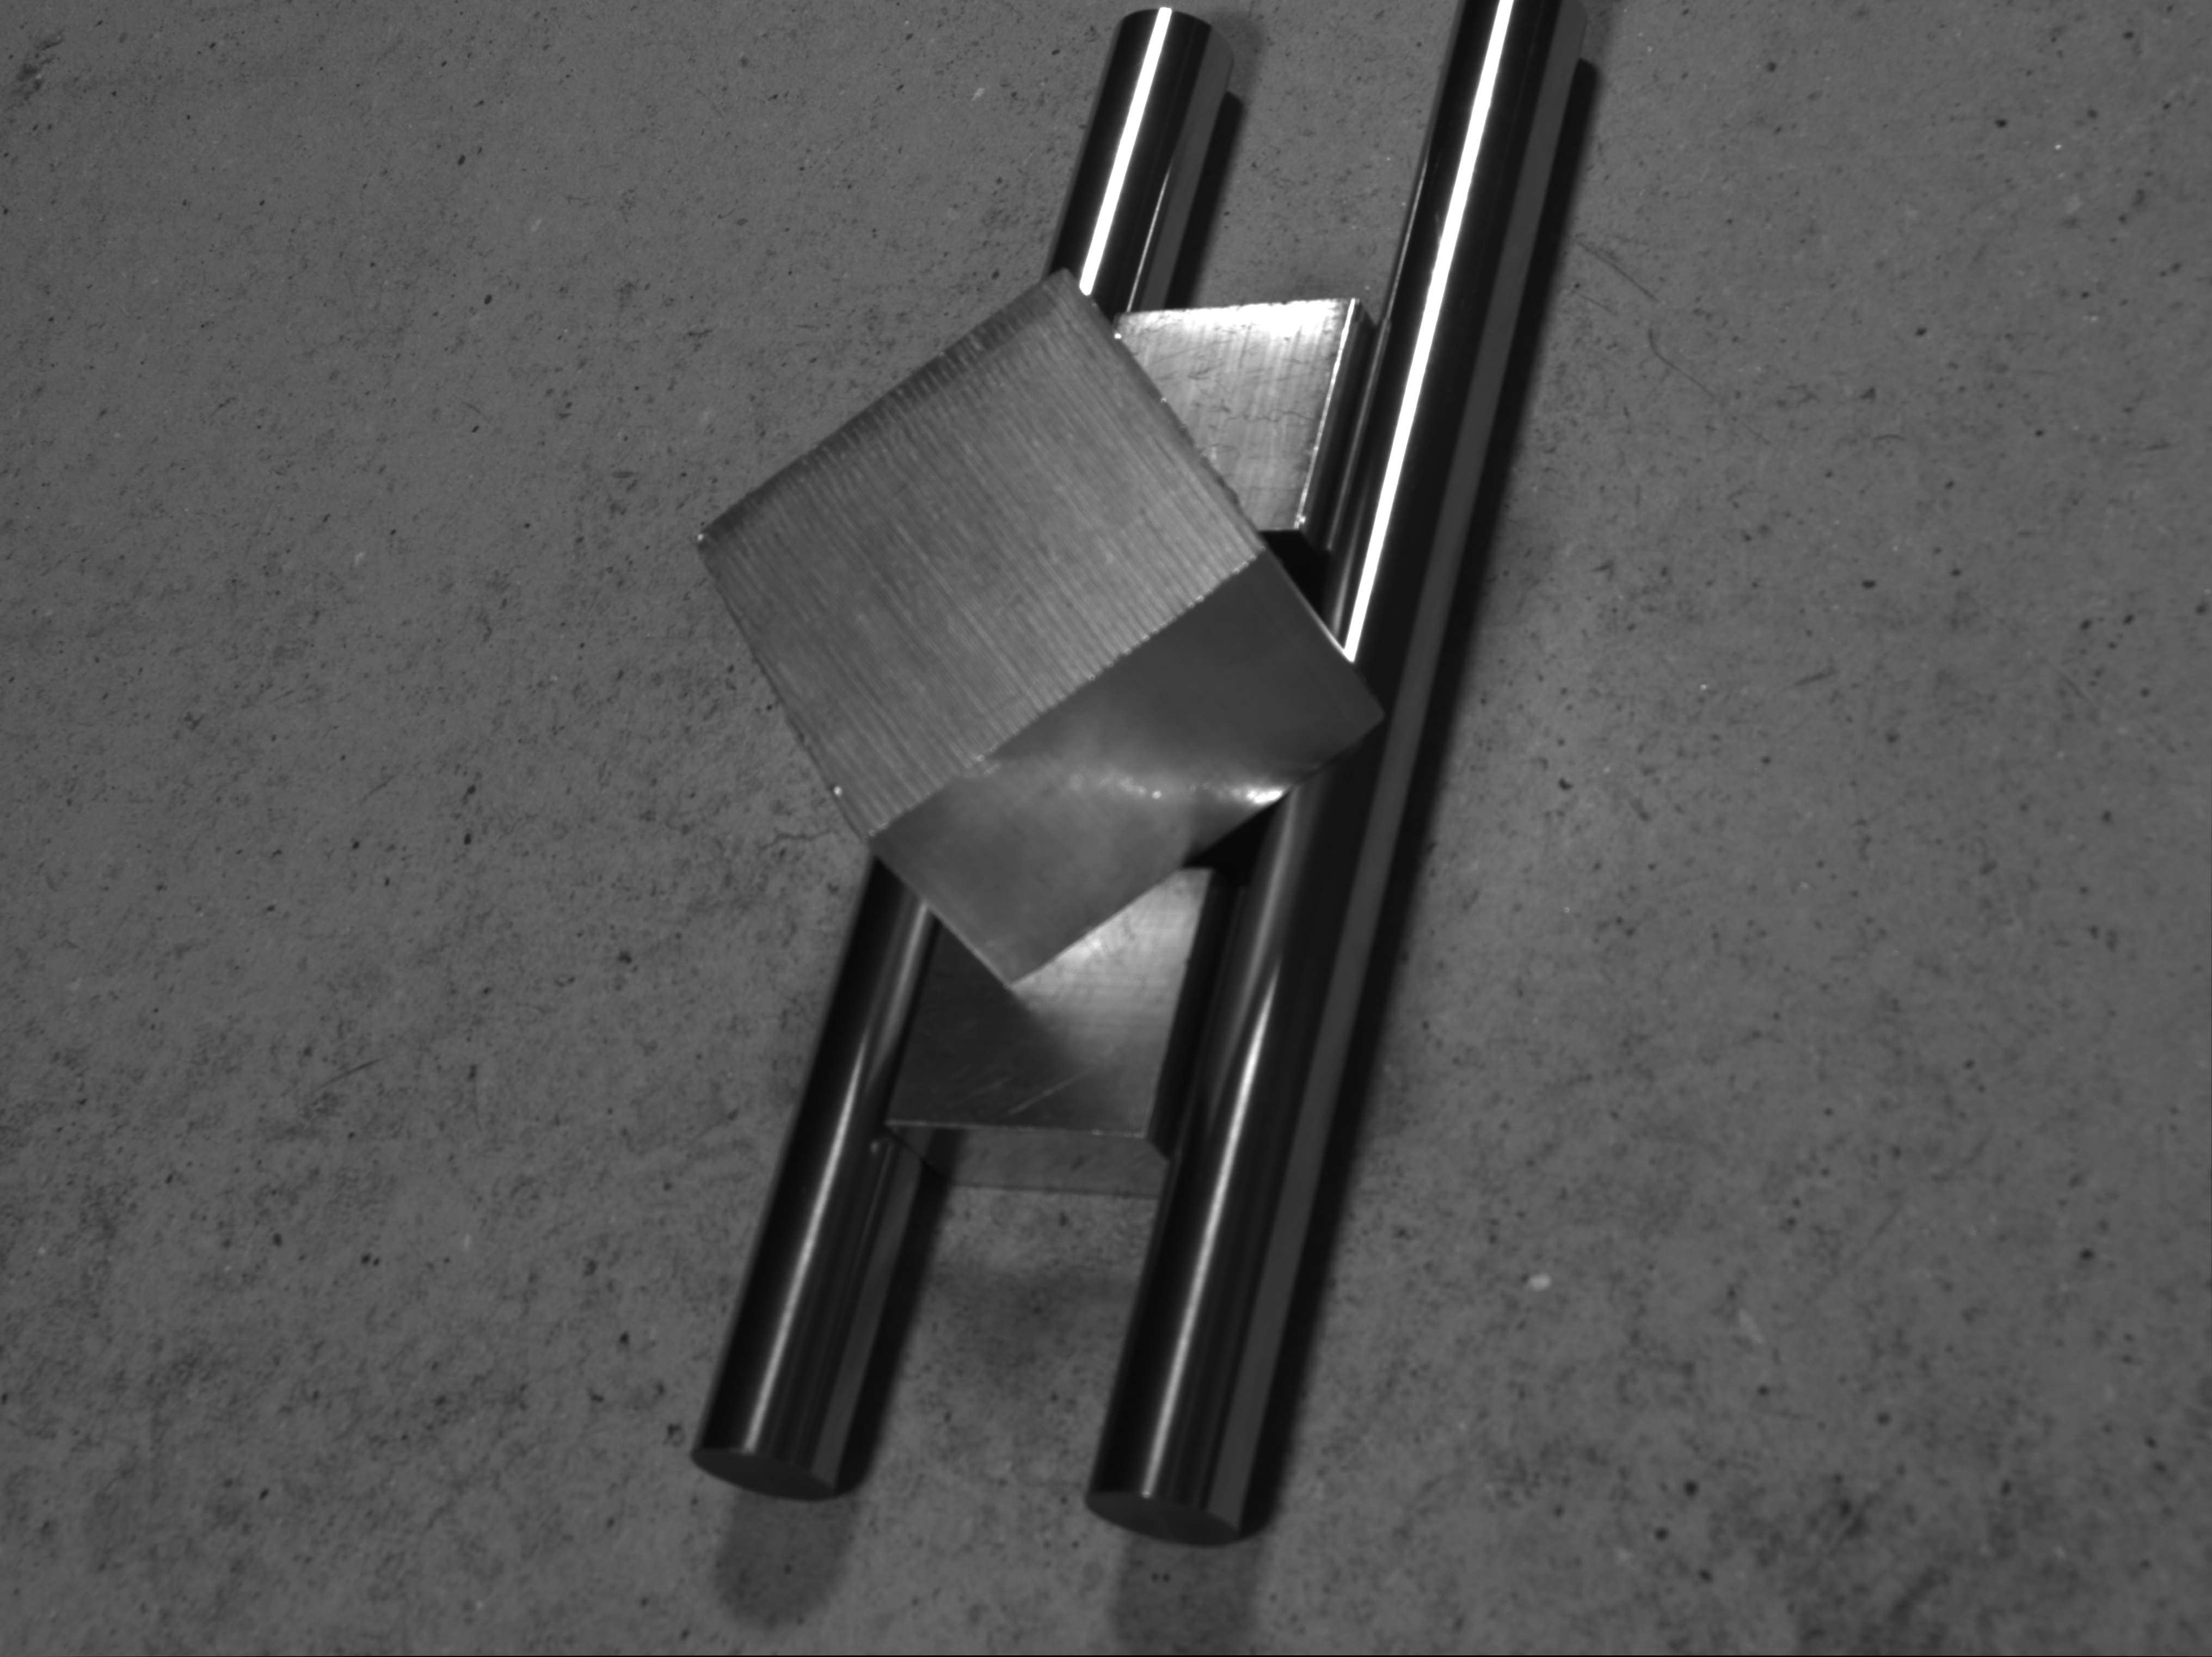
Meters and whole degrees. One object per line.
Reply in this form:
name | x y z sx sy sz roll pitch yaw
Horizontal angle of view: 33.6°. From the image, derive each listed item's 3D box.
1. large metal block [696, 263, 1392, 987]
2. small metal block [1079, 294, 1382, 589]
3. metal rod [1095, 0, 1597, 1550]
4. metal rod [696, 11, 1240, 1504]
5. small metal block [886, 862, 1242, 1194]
large metal block | -0.011 -0.035 0.621 0.080 0.050 0.080 -35 51 5
small metal block | 0.024 -0.069 0.673 0.050 0.025 0.050 1 62 29
metal rod | 0.046 -0.023 0.635 0.025 0.025 0.300 1 62 29
metal rod | -0.021 -0.024 0.671 0.025 0.025 0.300 1 62 29
small metal block | -0.004 0.033 0.625 0.050 0.025 0.050 1 62 29
